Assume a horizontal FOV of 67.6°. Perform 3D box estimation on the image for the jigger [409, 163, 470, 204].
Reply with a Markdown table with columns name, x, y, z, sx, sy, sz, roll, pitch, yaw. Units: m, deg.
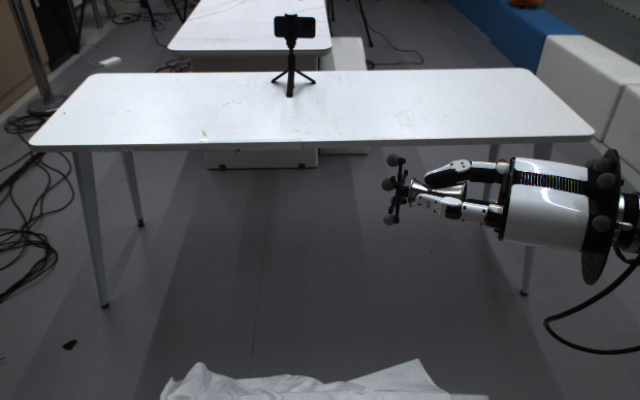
| name | x | y | z | sx | sy | sz | roll | pitch | yaw |
| --- | --- | --- | --- | --- | --- | --- | --- | --- | --- |
| jigger | 0.159 | -0.009 | 0.629 | 0.071 | 0.043 | 0.043 | 7 | 34 | 21 |
